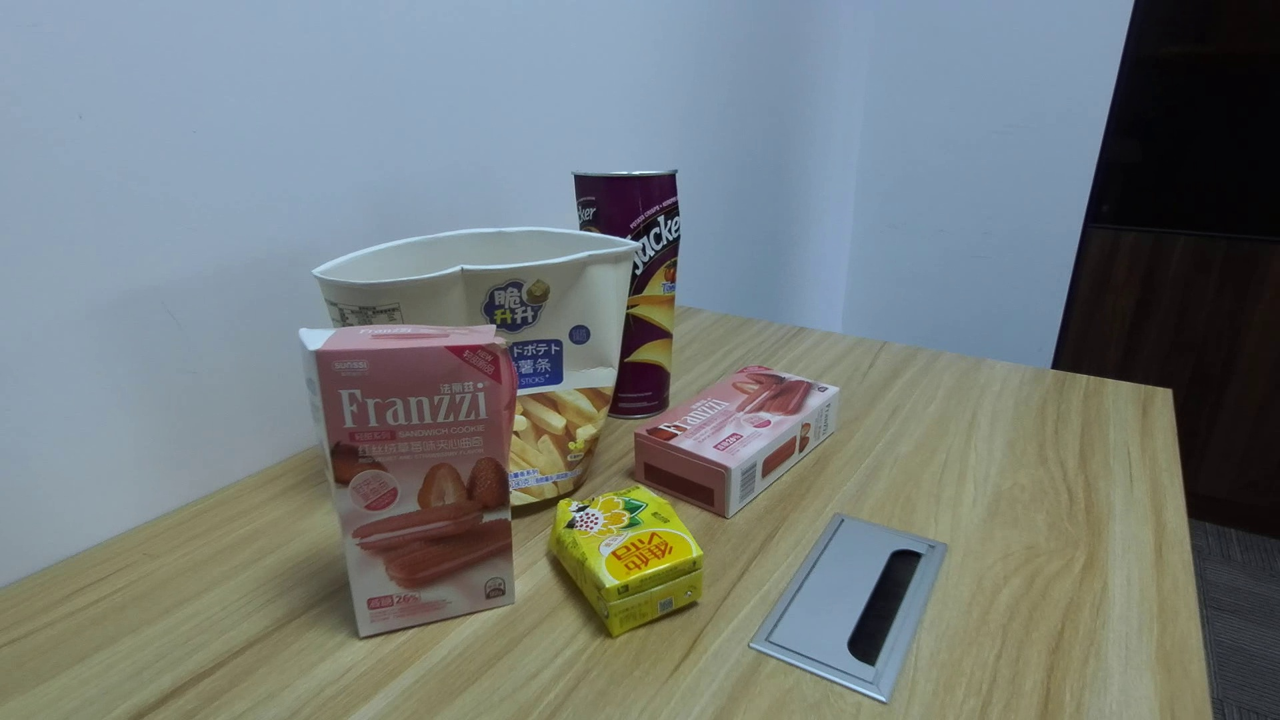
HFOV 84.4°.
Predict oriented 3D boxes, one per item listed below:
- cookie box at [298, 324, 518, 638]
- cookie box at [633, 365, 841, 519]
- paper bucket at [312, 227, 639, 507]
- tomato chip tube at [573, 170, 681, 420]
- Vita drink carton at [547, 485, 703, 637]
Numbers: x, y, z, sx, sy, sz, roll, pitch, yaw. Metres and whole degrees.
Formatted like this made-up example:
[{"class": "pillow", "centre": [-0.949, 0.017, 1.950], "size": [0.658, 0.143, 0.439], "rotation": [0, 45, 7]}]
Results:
[{"class": "cookie box", "centre": [-0.129, 0.070, 0.425], "size": [0.119, 0.184, 0.055], "rotation": [-5, 23, -12]}, {"class": "cookie box", "centre": [0.089, 0.062, 0.614], "size": [0.095, 0.048, 0.185], "rotation": [16, 27, 36]}, {"class": "paper bucket", "centre": [-0.112, 0.004, 0.567], "size": [0.147, 0.199, 0.219], "rotation": [16, 28, 36]}, {"class": "tomato chip tube", "centre": [-0.009, -0.063, 0.687], "size": [0.077, 0.235, 0.076], "rotation": [16, 26, 41]}, {"class": "Vita drink carton", "centre": [-0.010, 0.126, 0.467], "size": [0.087, 0.042, 0.108], "rotation": [-15, 22, -17]}]
